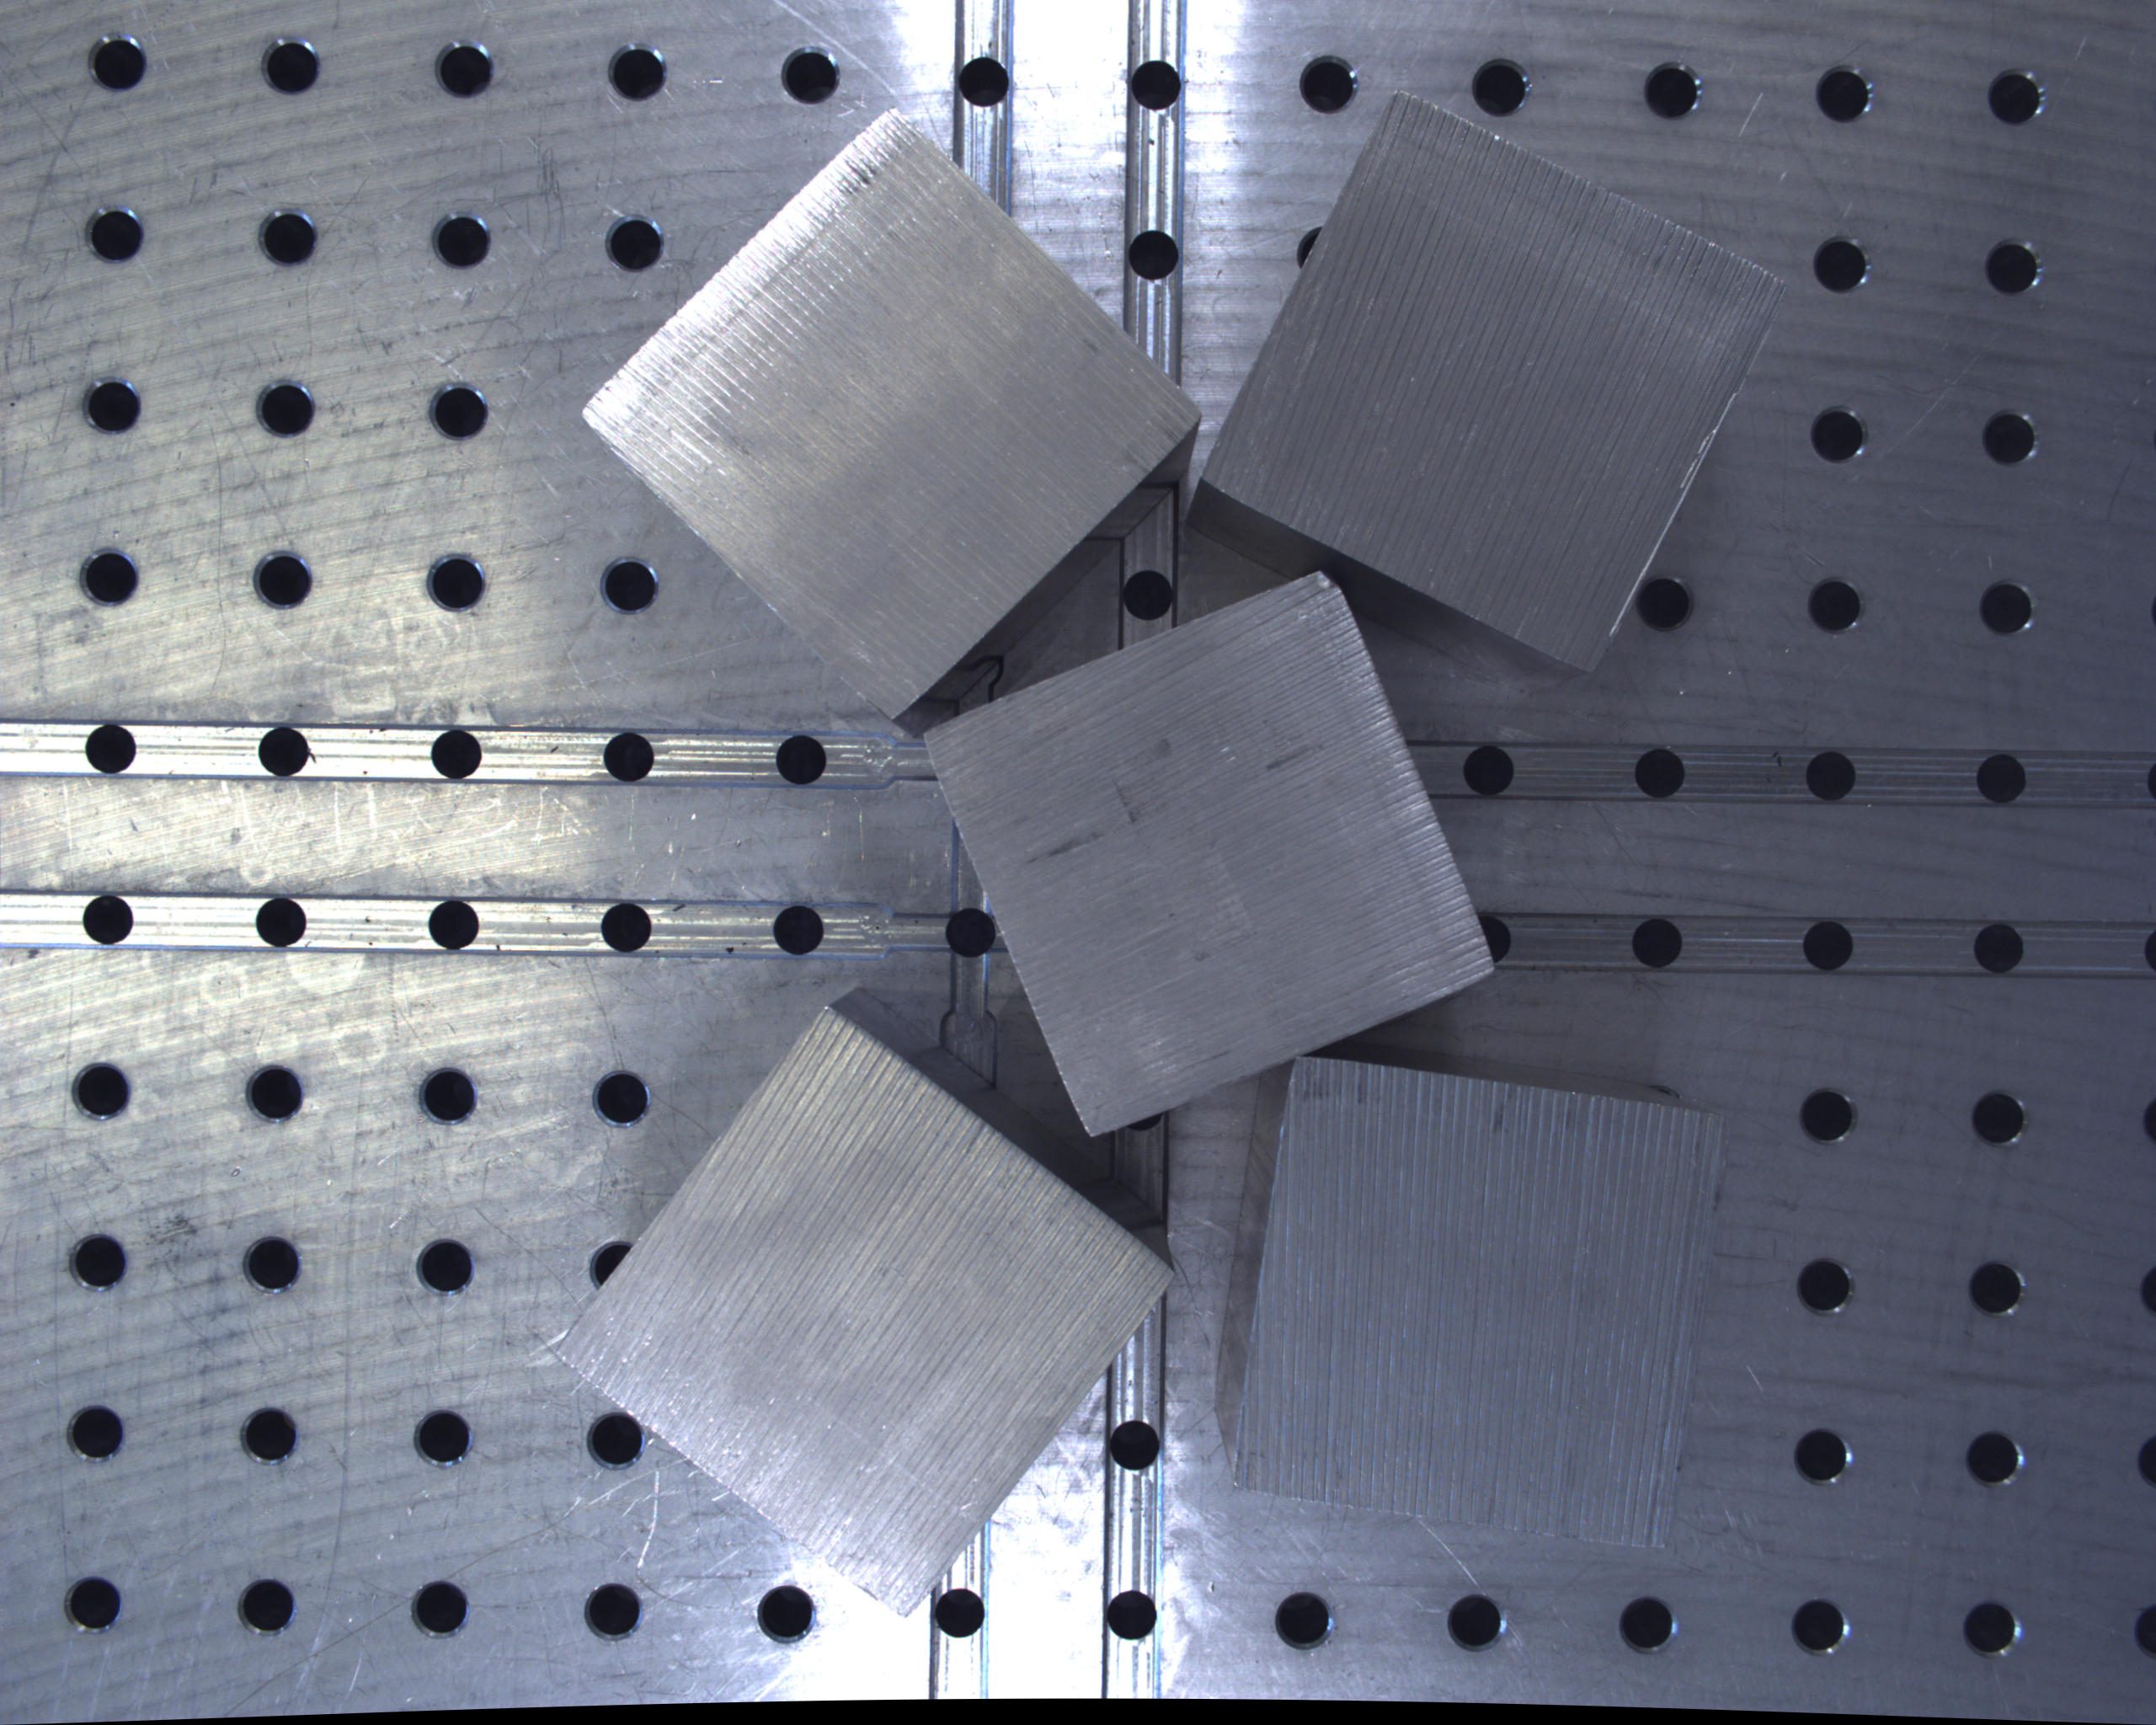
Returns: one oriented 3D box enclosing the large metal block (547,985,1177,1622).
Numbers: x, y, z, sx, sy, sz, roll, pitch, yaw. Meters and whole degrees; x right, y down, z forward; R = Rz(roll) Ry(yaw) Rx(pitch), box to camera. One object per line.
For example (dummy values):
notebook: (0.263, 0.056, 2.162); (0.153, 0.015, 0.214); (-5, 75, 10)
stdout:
large metal block: (-0.039, 0.080, 0.399); (0.080, 0.050, 0.080); (38, 90, 0)

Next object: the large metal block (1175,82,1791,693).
large metal block: (0.074, -0.087, 0.400); (0.080, 0.050, 0.080); (26, 90, -3)

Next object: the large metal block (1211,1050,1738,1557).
large metal block: (0.073, 0.080, 0.401); (0.080, 0.050, 0.080); (9, 90, -1)

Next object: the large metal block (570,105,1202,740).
large metal block: (-0.034, -0.080, 0.400); (0.080, 0.050, 0.080); (-44, 90, 0)

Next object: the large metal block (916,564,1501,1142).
large metal block: (0.024, -0.002, 0.400); (0.080, 0.050, 0.080); (-23, 90, 0)
